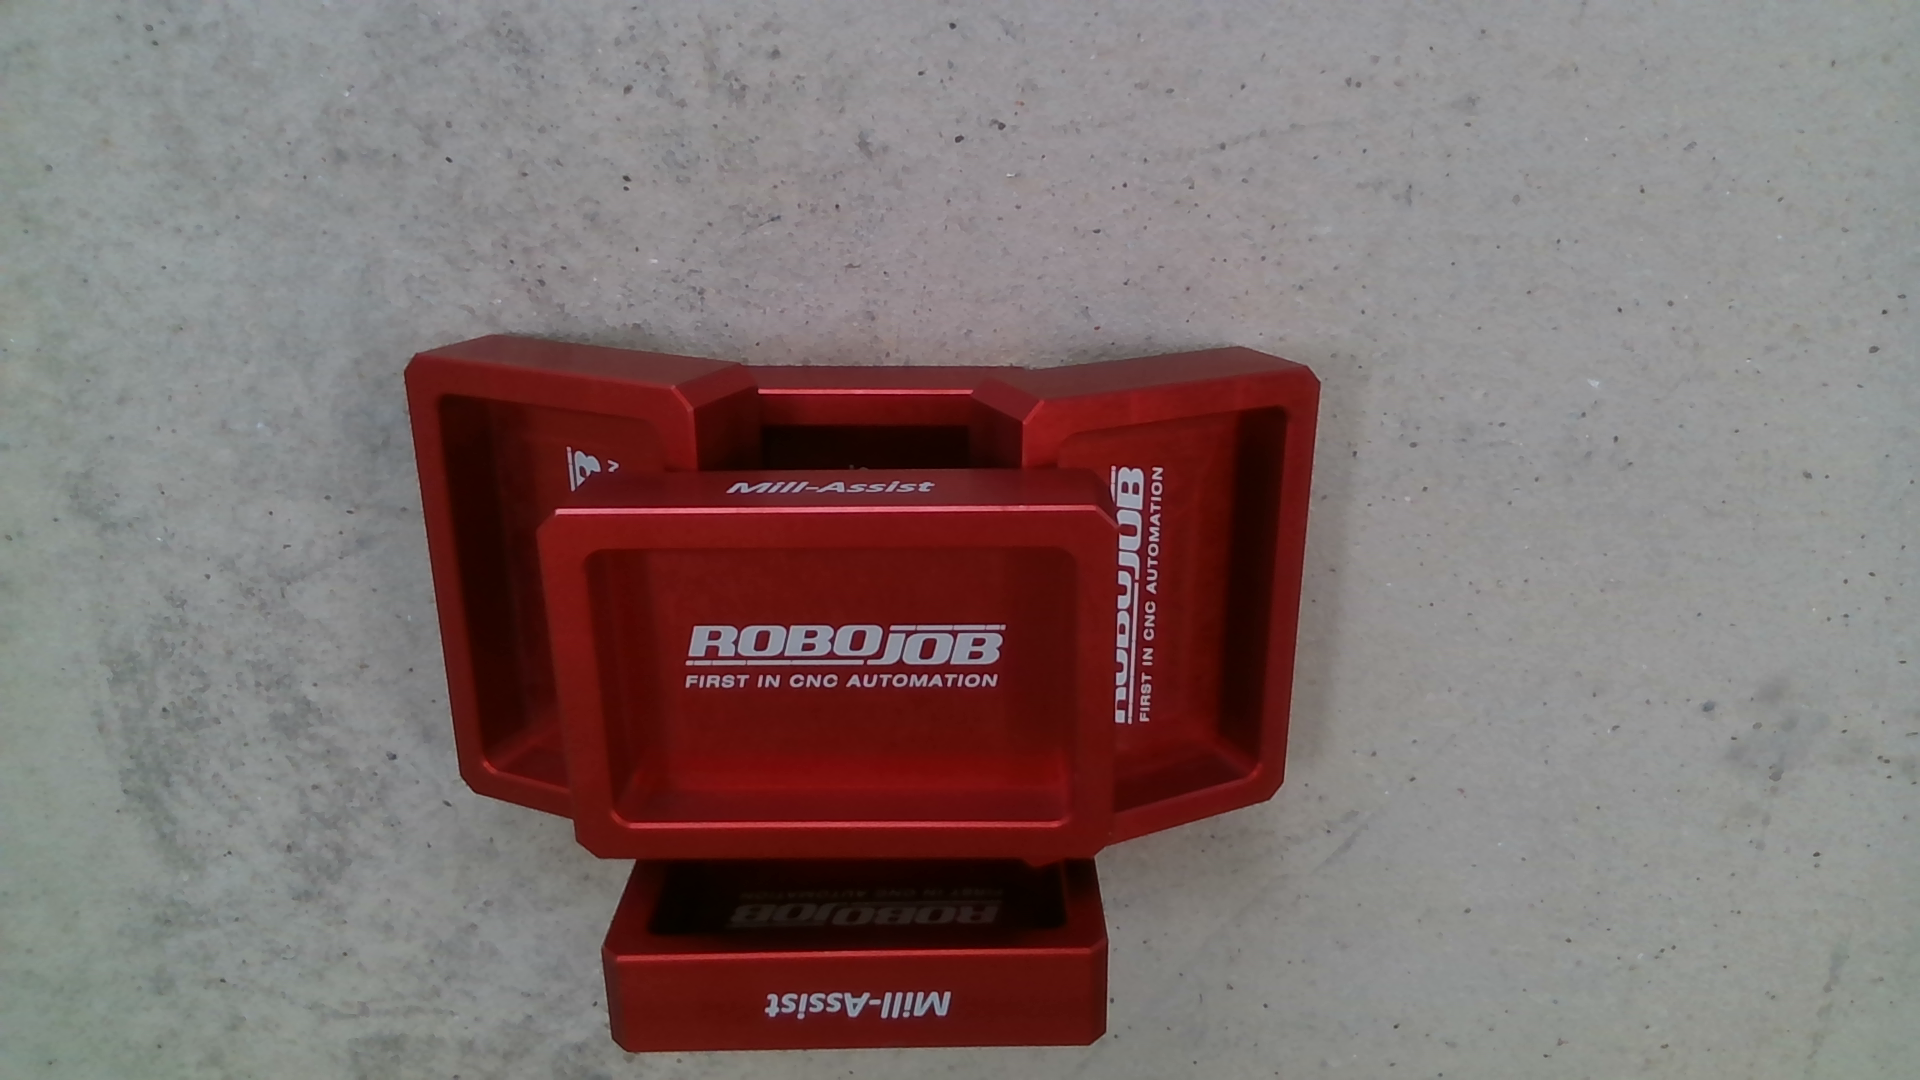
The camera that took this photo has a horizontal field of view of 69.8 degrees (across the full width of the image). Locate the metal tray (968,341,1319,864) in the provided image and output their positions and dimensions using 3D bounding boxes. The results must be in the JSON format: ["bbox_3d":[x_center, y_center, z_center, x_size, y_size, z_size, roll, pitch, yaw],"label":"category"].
[{"bbox_3d":[0.049,0.016,0.378,0.090,0.030,0.130,-10,113,-25],"label":"metal tray"}]

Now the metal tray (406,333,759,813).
[{"bbox_3d":[-0.099,0.014,0.377,0.090,0.030,0.130,9,112,23],"label":"metal tray"}]

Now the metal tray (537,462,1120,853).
[{"bbox_3d":[-0.029,0.029,0.332,0.130,0.030,0.090,0,110,3],"label":"metal tray"}]

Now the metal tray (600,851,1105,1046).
[{"bbox_3d":[-0.027,0.103,0.396,0.130,0.090,0.030,-1,110,1],"label":"metal tray"}]

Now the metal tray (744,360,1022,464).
[{"bbox_3d":[-0.022,0.016,0.395,0.090,0.030,0.130,0,110,2],"label":"metal tray"}]
